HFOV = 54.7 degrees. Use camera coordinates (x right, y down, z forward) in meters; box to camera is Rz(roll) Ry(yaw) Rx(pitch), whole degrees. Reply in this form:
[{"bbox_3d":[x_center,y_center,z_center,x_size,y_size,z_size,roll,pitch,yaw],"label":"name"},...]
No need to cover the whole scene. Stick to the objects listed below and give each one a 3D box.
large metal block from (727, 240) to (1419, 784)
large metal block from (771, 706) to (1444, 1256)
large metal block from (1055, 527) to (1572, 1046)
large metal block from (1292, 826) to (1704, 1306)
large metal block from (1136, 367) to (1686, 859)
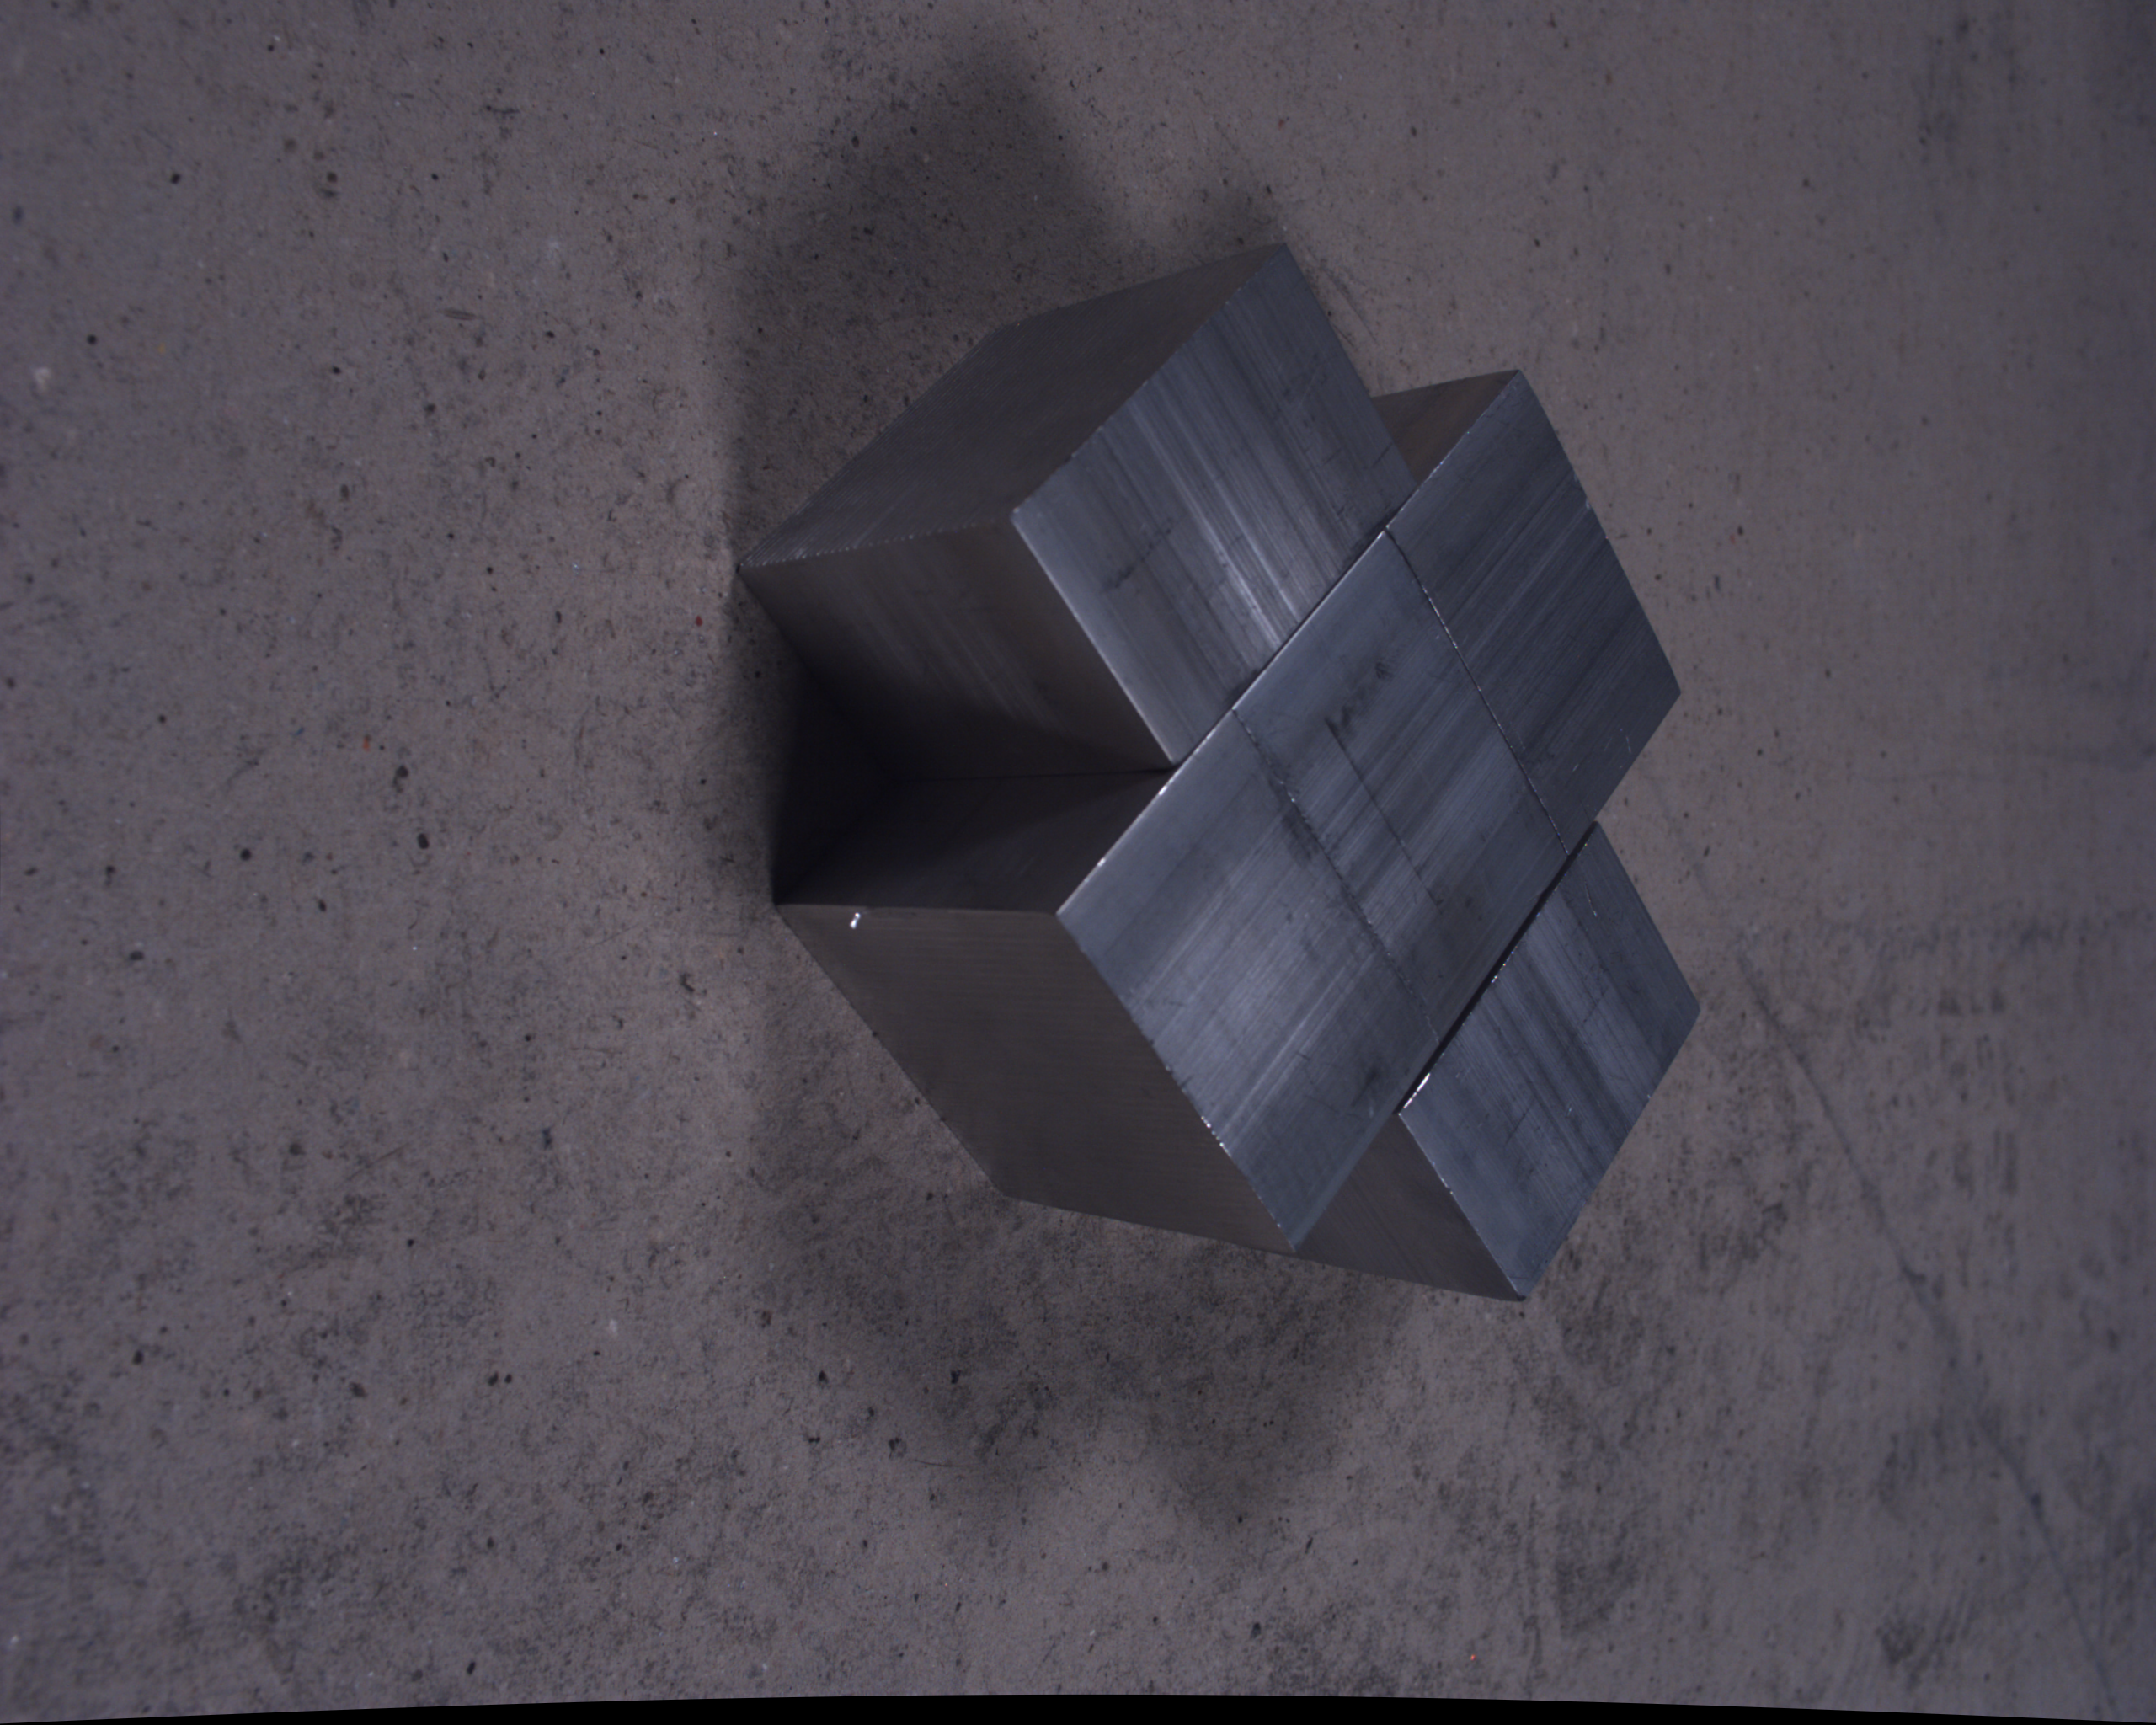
[{"bbox_3d":[-0.001,-0.060,0.372,0.080,0.080,0.050,-50,120,-29],"label":"large metal block"},{"bbox_3d":[0.005,0.020,0.377,0.050,0.080,0.080,-50,120,-28],"label":"large metal block"},{"bbox_3d":[0.034,-0.013,0.402,0.050,0.080,0.080,-50,120,-28],"label":"large metal block"},{"bbox_3d":[0.067,0.038,0.430,0.080,0.080,0.050,-50,120,-29],"label":"large metal block"},{"bbox_3d":[0.063,-0.047,0.426,0.050,0.080,0.080,-50,120,-28],"label":"large metal block"}]
